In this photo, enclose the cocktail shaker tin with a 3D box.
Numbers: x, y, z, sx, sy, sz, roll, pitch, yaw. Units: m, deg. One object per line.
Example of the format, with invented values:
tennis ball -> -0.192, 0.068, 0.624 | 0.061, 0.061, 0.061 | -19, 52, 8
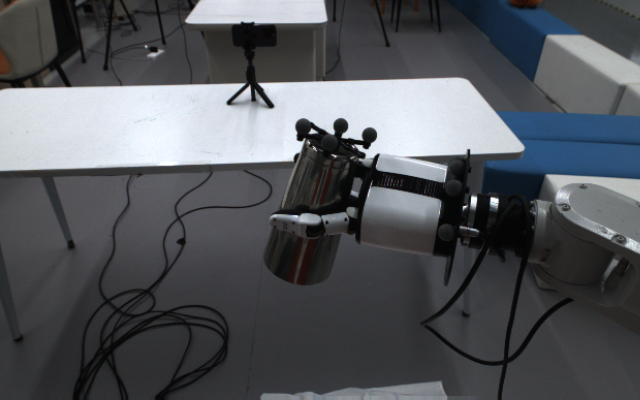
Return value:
cocktail shaker tin -> -0.004, 0.008, 0.591 | 0.093, 0.170, 0.093 | 12, 29, -7
